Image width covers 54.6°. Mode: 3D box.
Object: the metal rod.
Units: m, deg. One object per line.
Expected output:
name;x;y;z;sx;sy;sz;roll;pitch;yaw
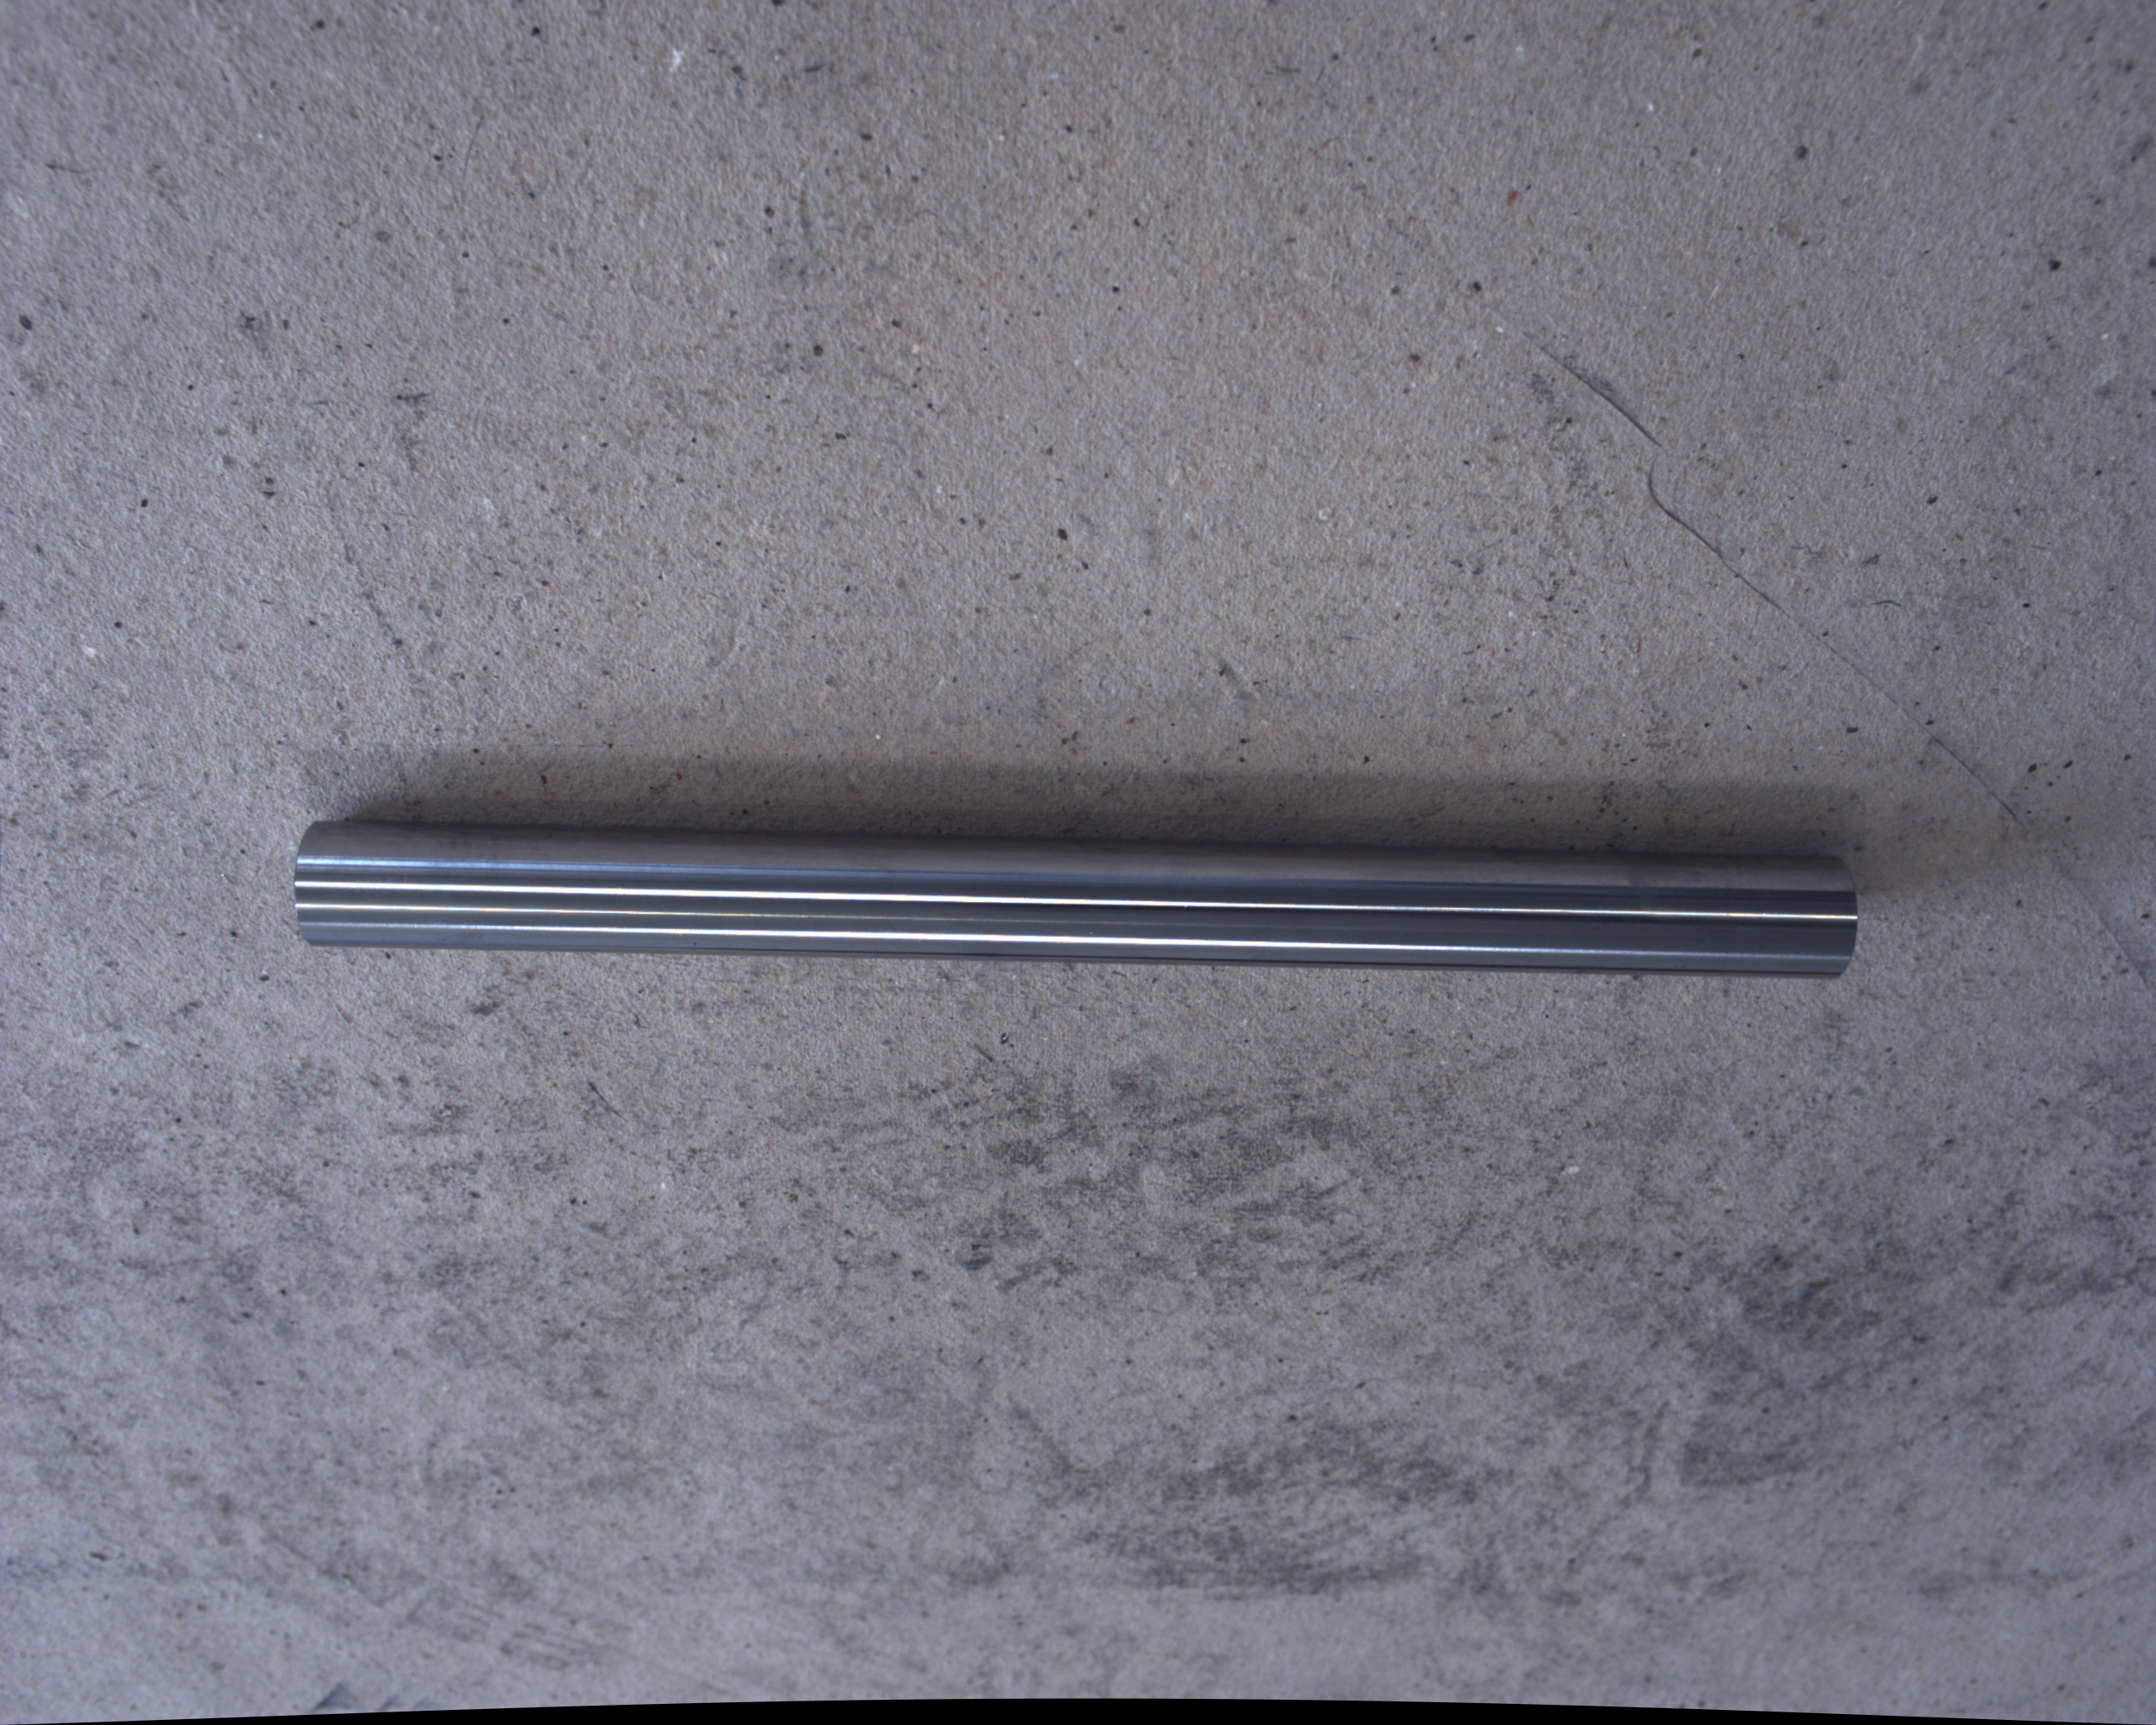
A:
metal rod;0.001;0.008;0.415;0.302;0.025;0.025;1;130;-2
